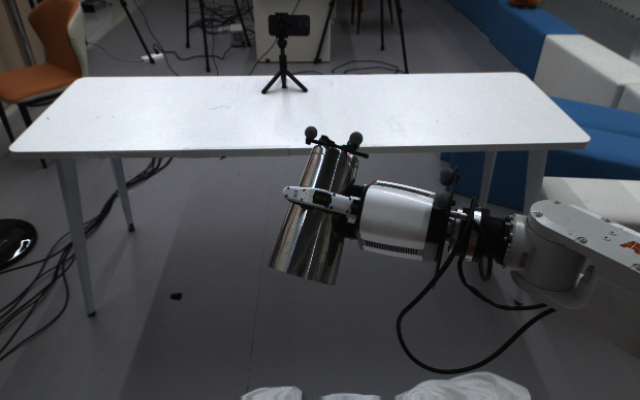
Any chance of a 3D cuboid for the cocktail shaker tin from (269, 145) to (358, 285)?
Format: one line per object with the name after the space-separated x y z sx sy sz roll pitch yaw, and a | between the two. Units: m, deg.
-0.002 0.018 0.645 0.093 0.170 0.093 16 -6 2 | cocktail shaker tin
